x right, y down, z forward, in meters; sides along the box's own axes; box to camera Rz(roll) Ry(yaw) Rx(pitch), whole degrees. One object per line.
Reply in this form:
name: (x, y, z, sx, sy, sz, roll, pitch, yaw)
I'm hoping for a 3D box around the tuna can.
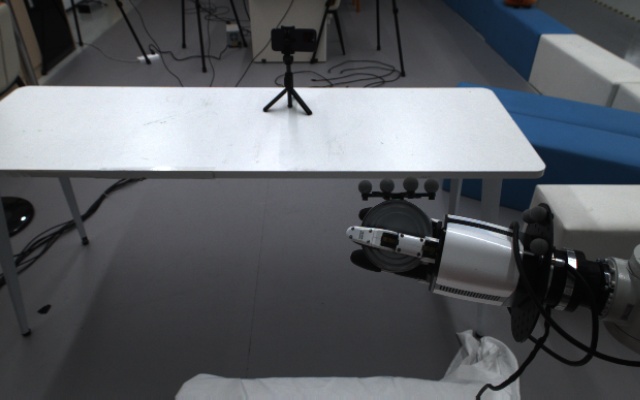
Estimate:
tuna can: (0.094, 0.041, 0.582, 0.085, 0.085, 0.034, 15, 2, 18)
